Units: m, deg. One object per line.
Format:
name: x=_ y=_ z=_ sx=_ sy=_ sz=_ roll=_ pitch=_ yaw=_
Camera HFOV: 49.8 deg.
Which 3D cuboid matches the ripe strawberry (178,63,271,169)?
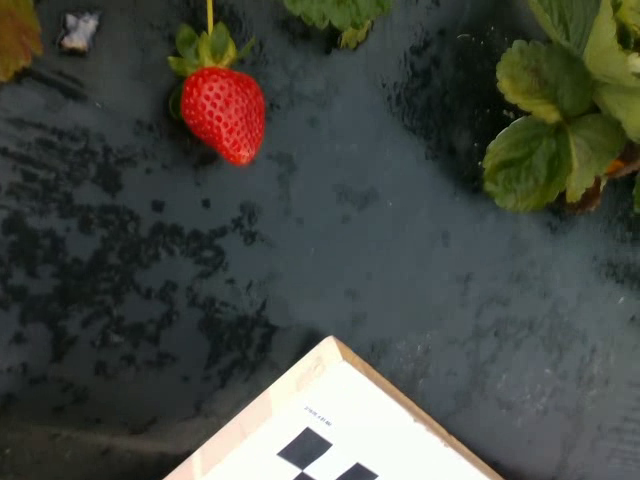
ripe strawberry: x=-0.042 y=-0.056 z=0.315 sx=0.045 sy=0.054 sz=0.048 roll=-8 pitch=-16 yaw=-12
